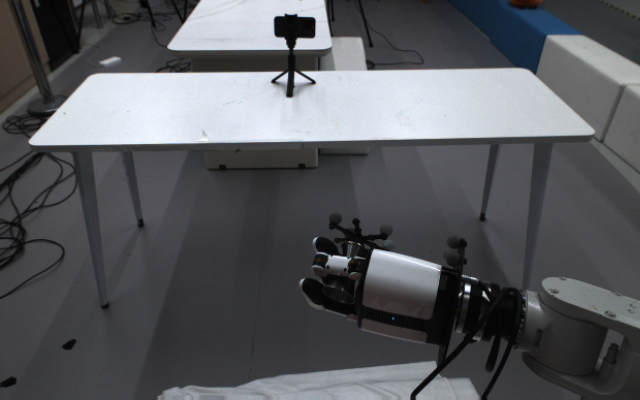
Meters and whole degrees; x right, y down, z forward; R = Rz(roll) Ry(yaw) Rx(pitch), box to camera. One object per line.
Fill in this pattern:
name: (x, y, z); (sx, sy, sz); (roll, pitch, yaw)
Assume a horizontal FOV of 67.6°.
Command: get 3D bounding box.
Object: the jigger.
jigger: (0.038, 0.091, 0.611); (0.043, 0.043, 0.071); (13, 57, 15)
